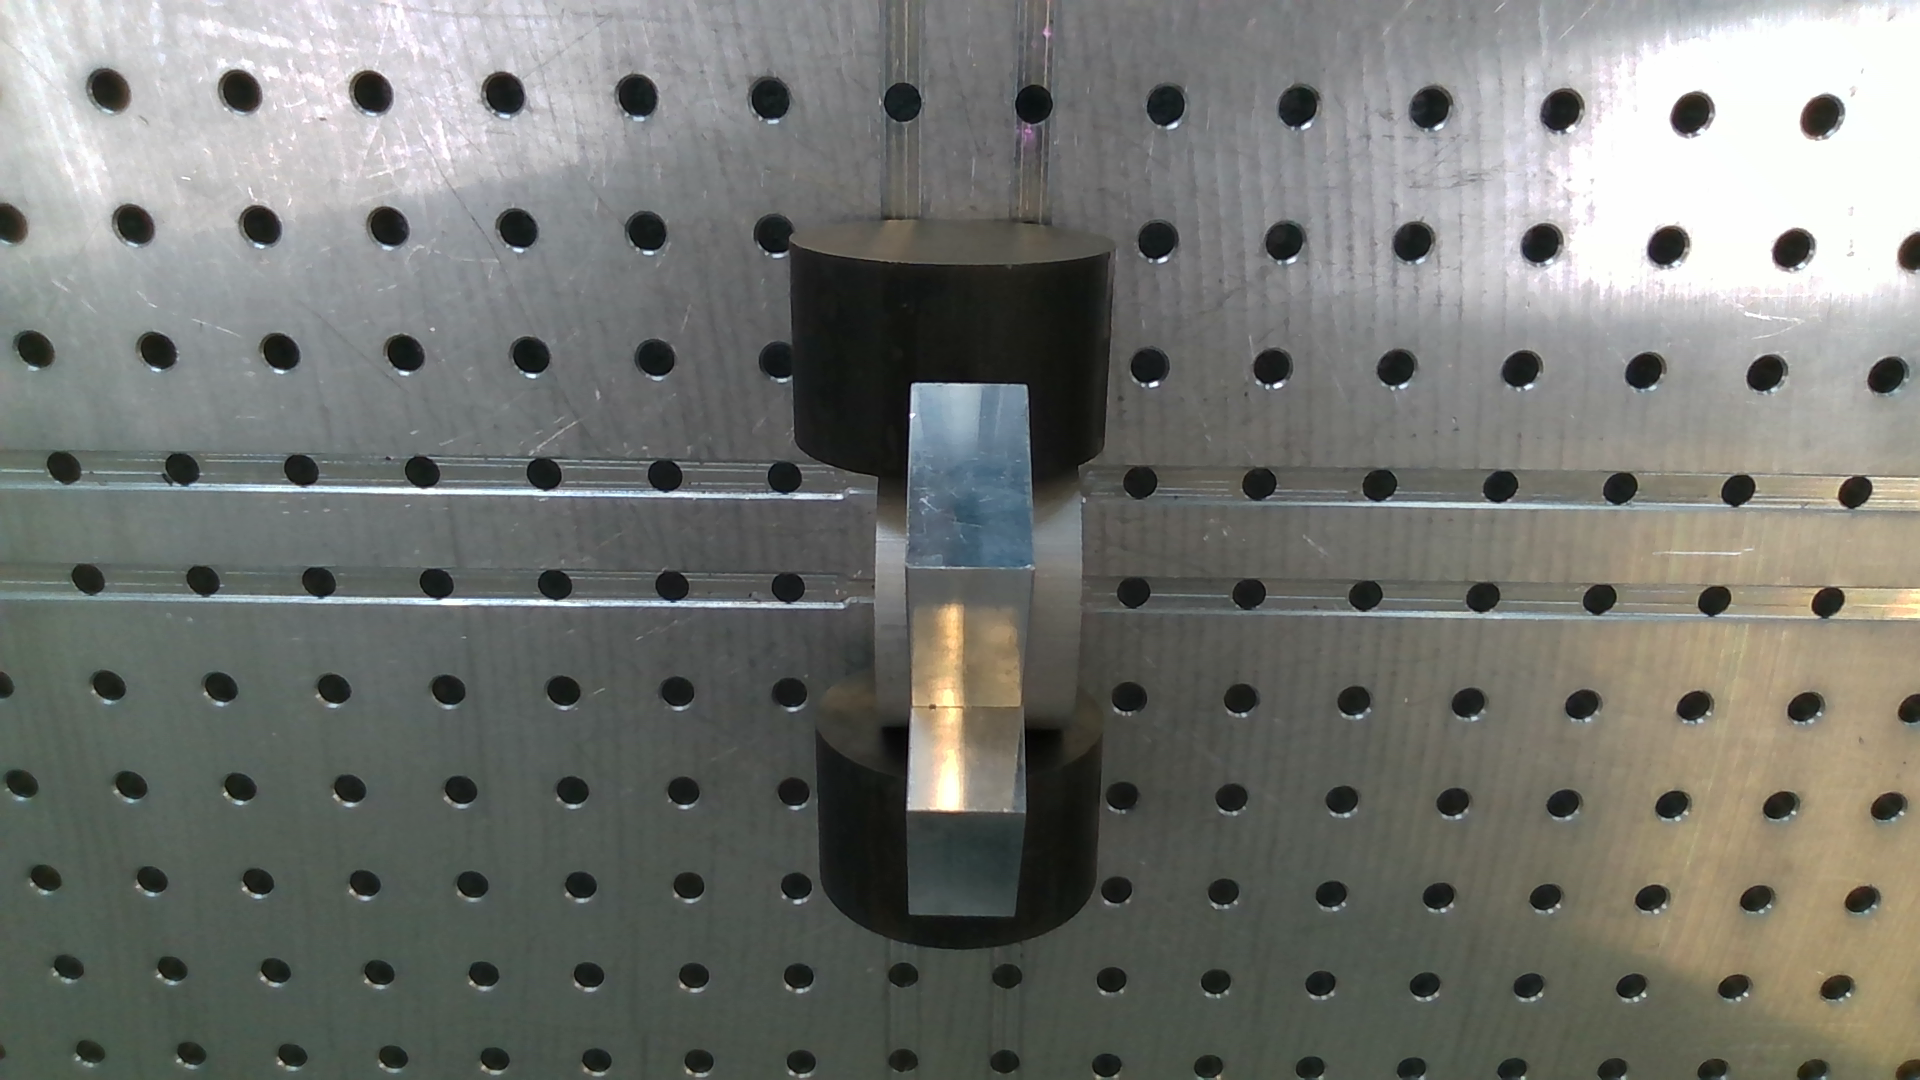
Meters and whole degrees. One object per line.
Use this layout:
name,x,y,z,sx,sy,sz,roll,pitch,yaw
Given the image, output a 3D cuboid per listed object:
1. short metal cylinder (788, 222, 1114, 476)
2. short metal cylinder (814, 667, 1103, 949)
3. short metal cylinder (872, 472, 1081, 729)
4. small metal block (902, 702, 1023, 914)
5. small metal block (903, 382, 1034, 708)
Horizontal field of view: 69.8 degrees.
short metal cylinder,-0.003,-0.051,0.348,0.080,0.080,0.050,1,110,0
short metal cylinder,-0.001,0.071,0.392,0.080,0.080,0.050,1,109,0
short metal cylinder,0.004,0.010,0.370,0.050,0.080,0.080,1,110,0
small metal block,0.000,0.053,0.320,0.025,0.050,0.050,1,141,0
small metal block,0.002,0.002,0.297,0.025,0.050,0.050,1,141,0
